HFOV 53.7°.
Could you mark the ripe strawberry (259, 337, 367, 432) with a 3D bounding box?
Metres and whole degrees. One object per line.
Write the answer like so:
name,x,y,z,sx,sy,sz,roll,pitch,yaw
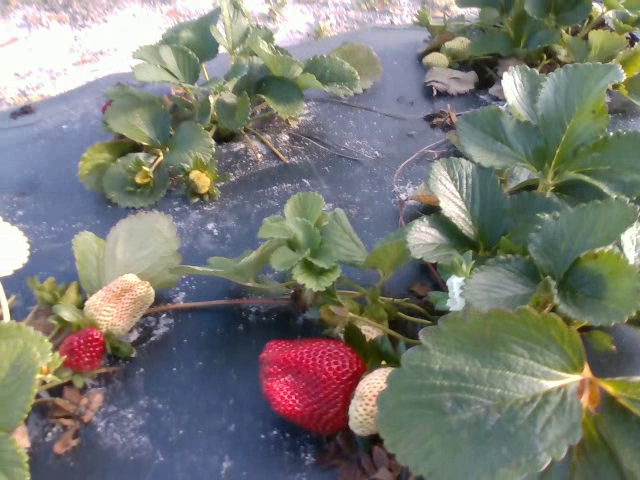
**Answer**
ripe strawberry,-0.007,0.080,0.351,0.070,0.058,0.057,26,-17,-22
